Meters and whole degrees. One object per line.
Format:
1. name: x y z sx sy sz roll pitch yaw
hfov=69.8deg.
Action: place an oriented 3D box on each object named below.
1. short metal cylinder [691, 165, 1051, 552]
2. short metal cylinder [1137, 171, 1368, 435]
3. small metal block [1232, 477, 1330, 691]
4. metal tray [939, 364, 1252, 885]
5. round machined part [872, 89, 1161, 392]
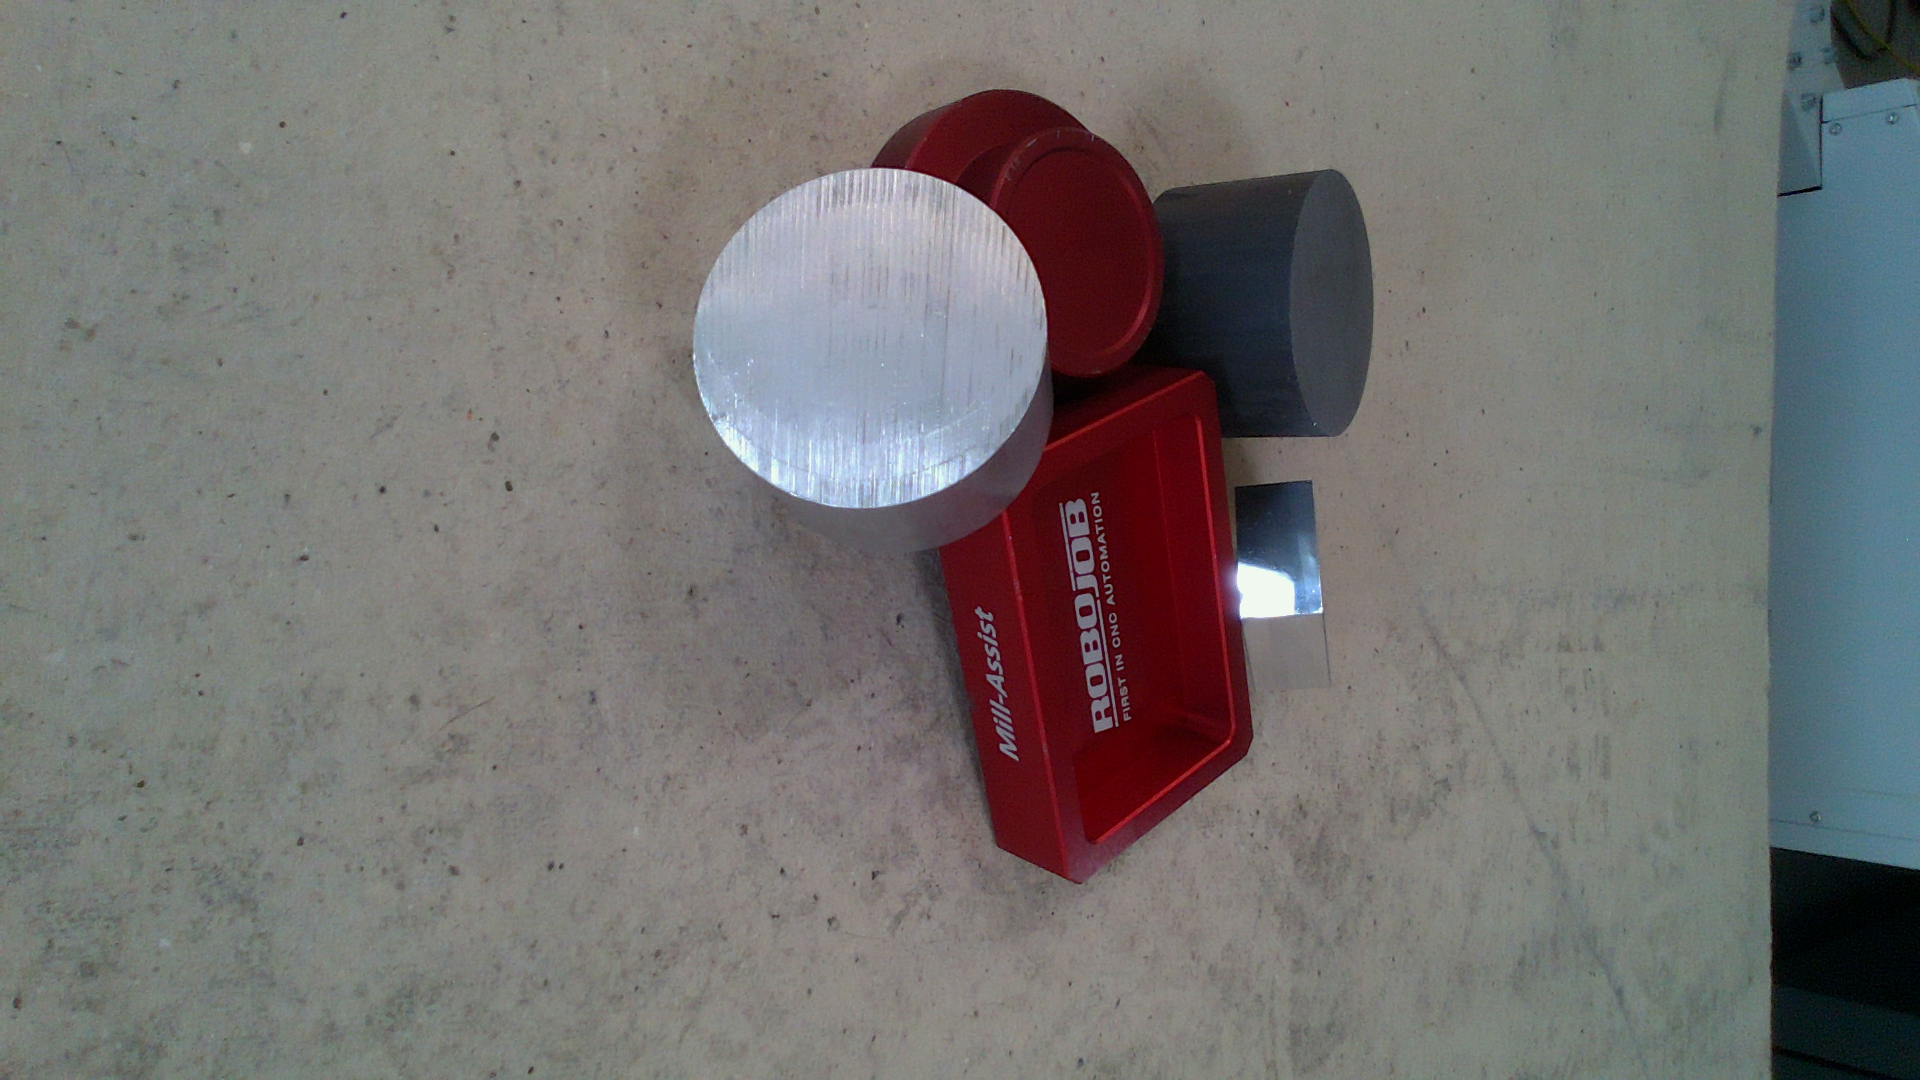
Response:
1. short metal cylinder: -0.018 -0.041 0.330 0.050 0.080 0.080 66 36 -77
2. short metal cylinder: 0.093 -0.073 0.437 0.080 0.050 0.080 -5 96 -57
3. small metal block: 0.106 0.015 0.455 0.050 0.025 0.050 64 25 -53
4. metal tray: 0.042 0.023 0.406 0.090 0.030 0.130 -28 117 -36
5. round machined part: 0.020 -0.080 0.395 0.098 0.042 0.098 0 90 -40
